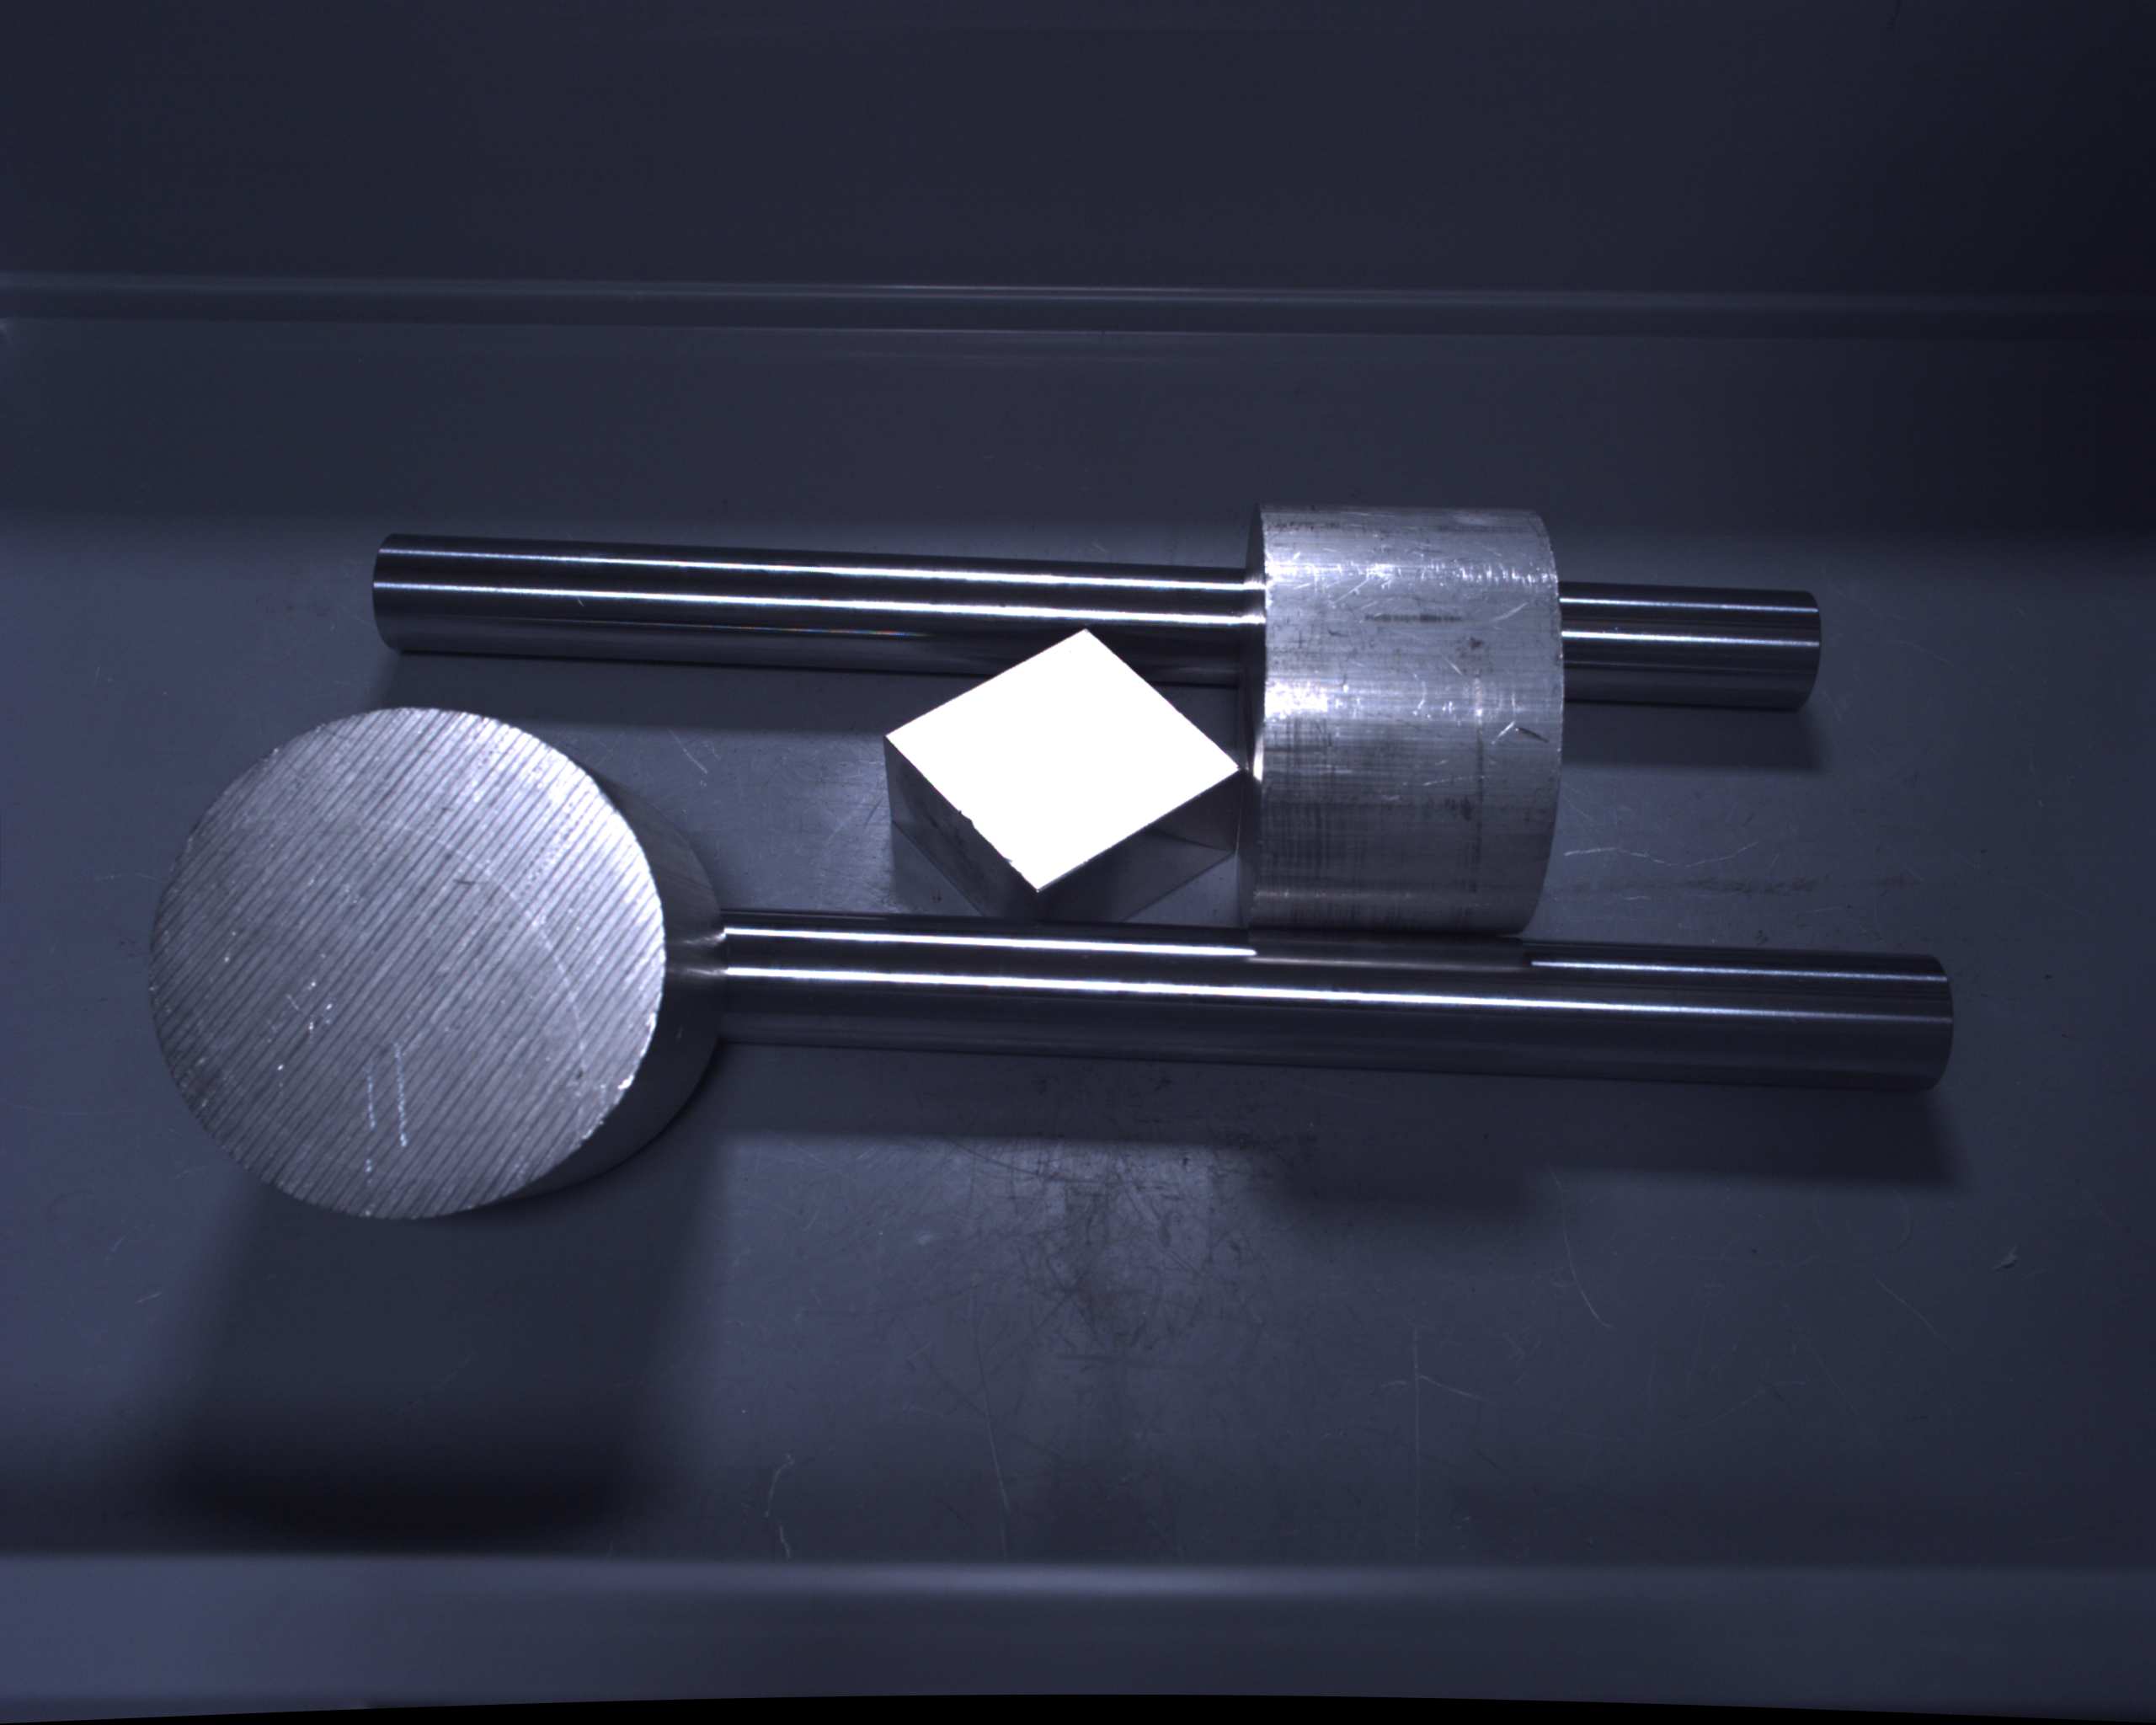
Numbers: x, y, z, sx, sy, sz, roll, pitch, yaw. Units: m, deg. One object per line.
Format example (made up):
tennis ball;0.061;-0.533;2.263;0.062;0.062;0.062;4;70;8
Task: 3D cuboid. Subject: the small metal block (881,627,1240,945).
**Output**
small metal block;-0.003;-0.013;0.414;0.050;0.025;0.050;-31;57;-24

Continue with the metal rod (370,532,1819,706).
metal rod;0.003;-0.052;0.446;0.302;0.025;0.025;3;50;1

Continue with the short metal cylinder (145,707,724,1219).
short metal cylinder;-0.104;0.018;0.348;0.081;0.050;0.080;0;84;1

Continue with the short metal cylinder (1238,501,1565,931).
short metal cylinder;0.057;-0.027;0.391;0.050;0.080;0.080;1;50;1

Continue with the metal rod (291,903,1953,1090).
metal rod;0.004;0.023;0.383;0.302;0.025;0.025;2;50;1
